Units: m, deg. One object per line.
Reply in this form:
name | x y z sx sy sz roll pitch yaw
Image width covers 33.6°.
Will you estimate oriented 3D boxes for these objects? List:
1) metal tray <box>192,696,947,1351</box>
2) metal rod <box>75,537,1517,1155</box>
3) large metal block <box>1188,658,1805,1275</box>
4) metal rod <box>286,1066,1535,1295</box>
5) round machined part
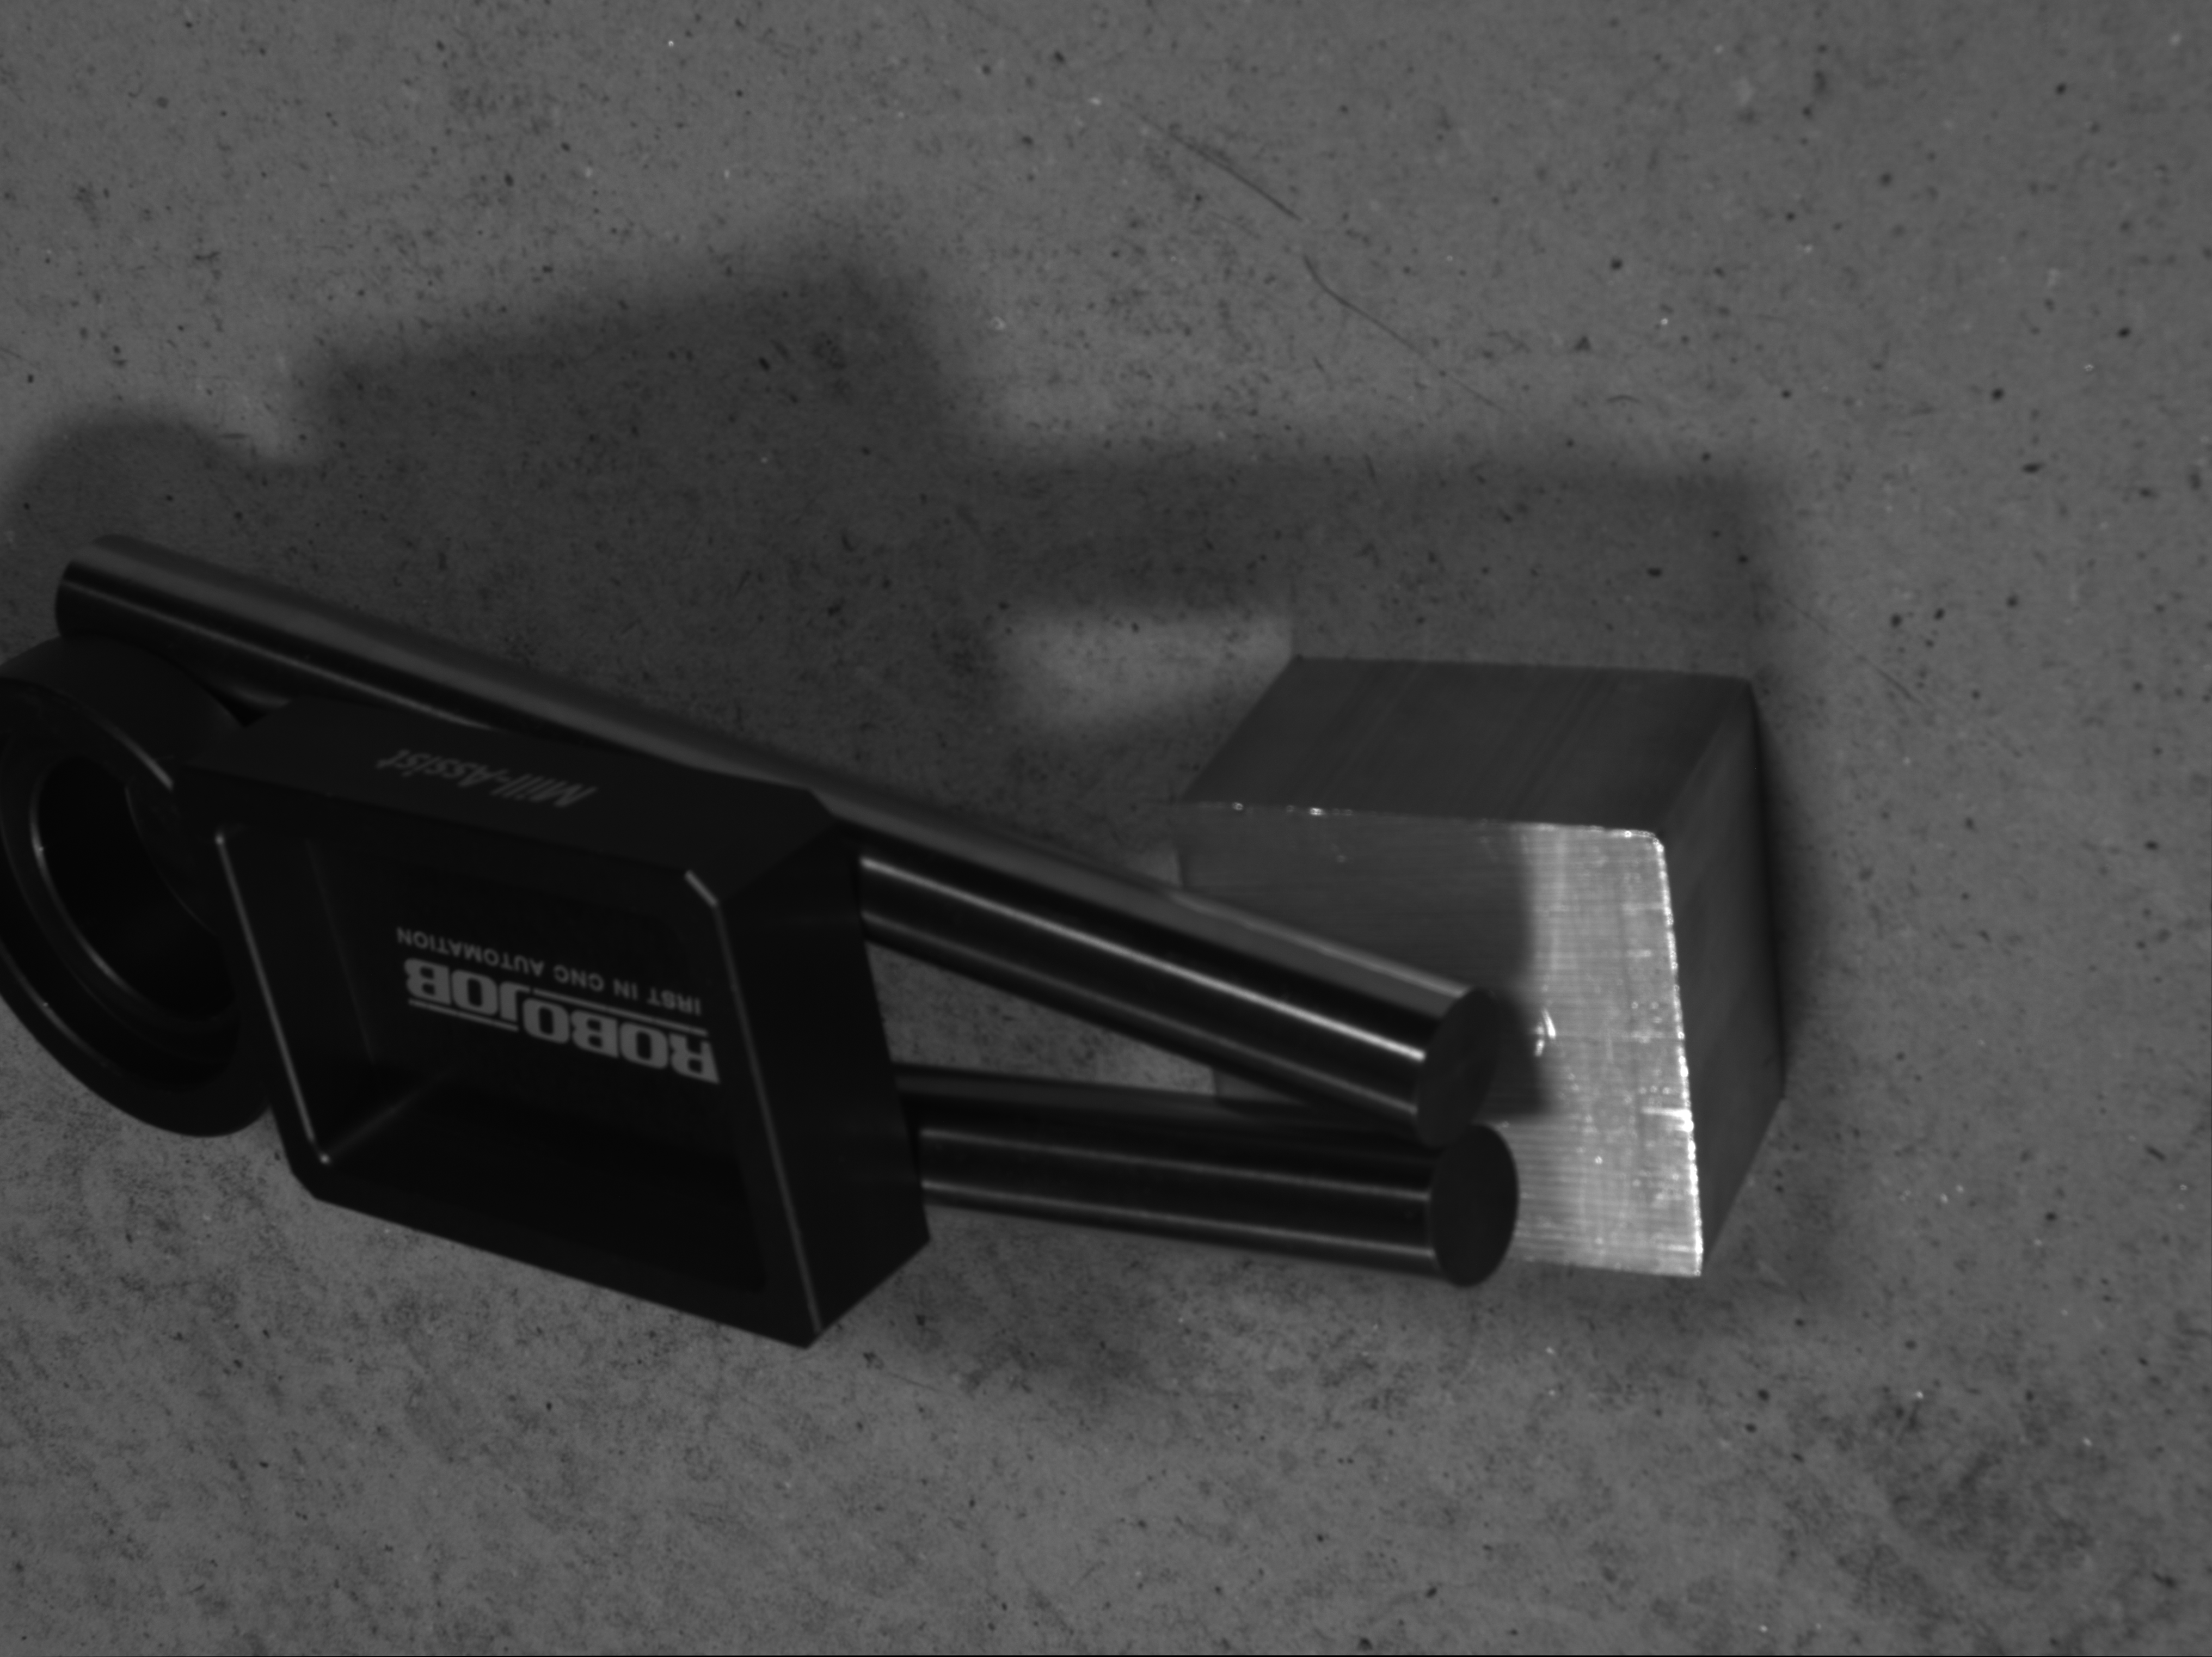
metal tray | -0.093 0.031 0.627 0.130 0.030 0.090 11 123 36
metal rod | -0.066 -0.004 0.621 0.299 0.025 0.025 18 126 32
large metal block | 0.065 0.021 0.593 0.080 0.050 0.080 4 120 25
metal rod | -0.057 0.052 0.650 0.299 0.025 0.025 3 120 40
round machined part | -0.175 0.006 0.705 0.098 0.042 0.098 20 128 28
